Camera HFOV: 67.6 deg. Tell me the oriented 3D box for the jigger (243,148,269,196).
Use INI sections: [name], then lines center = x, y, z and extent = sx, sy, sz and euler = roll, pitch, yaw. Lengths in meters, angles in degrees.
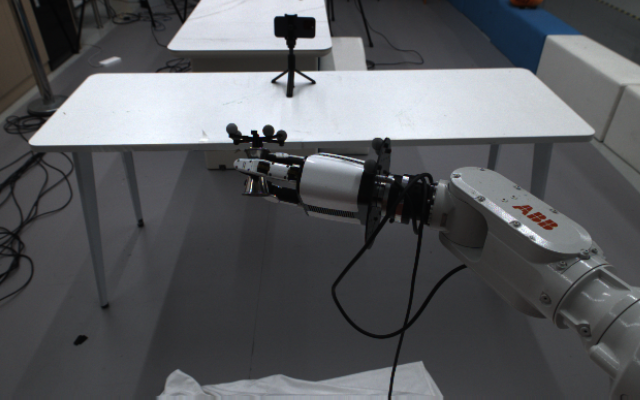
[jigger]
center = -0.095, -0.041, 0.721
extent = 0.043, 0.071, 0.043
euler = 1, -5, 0
